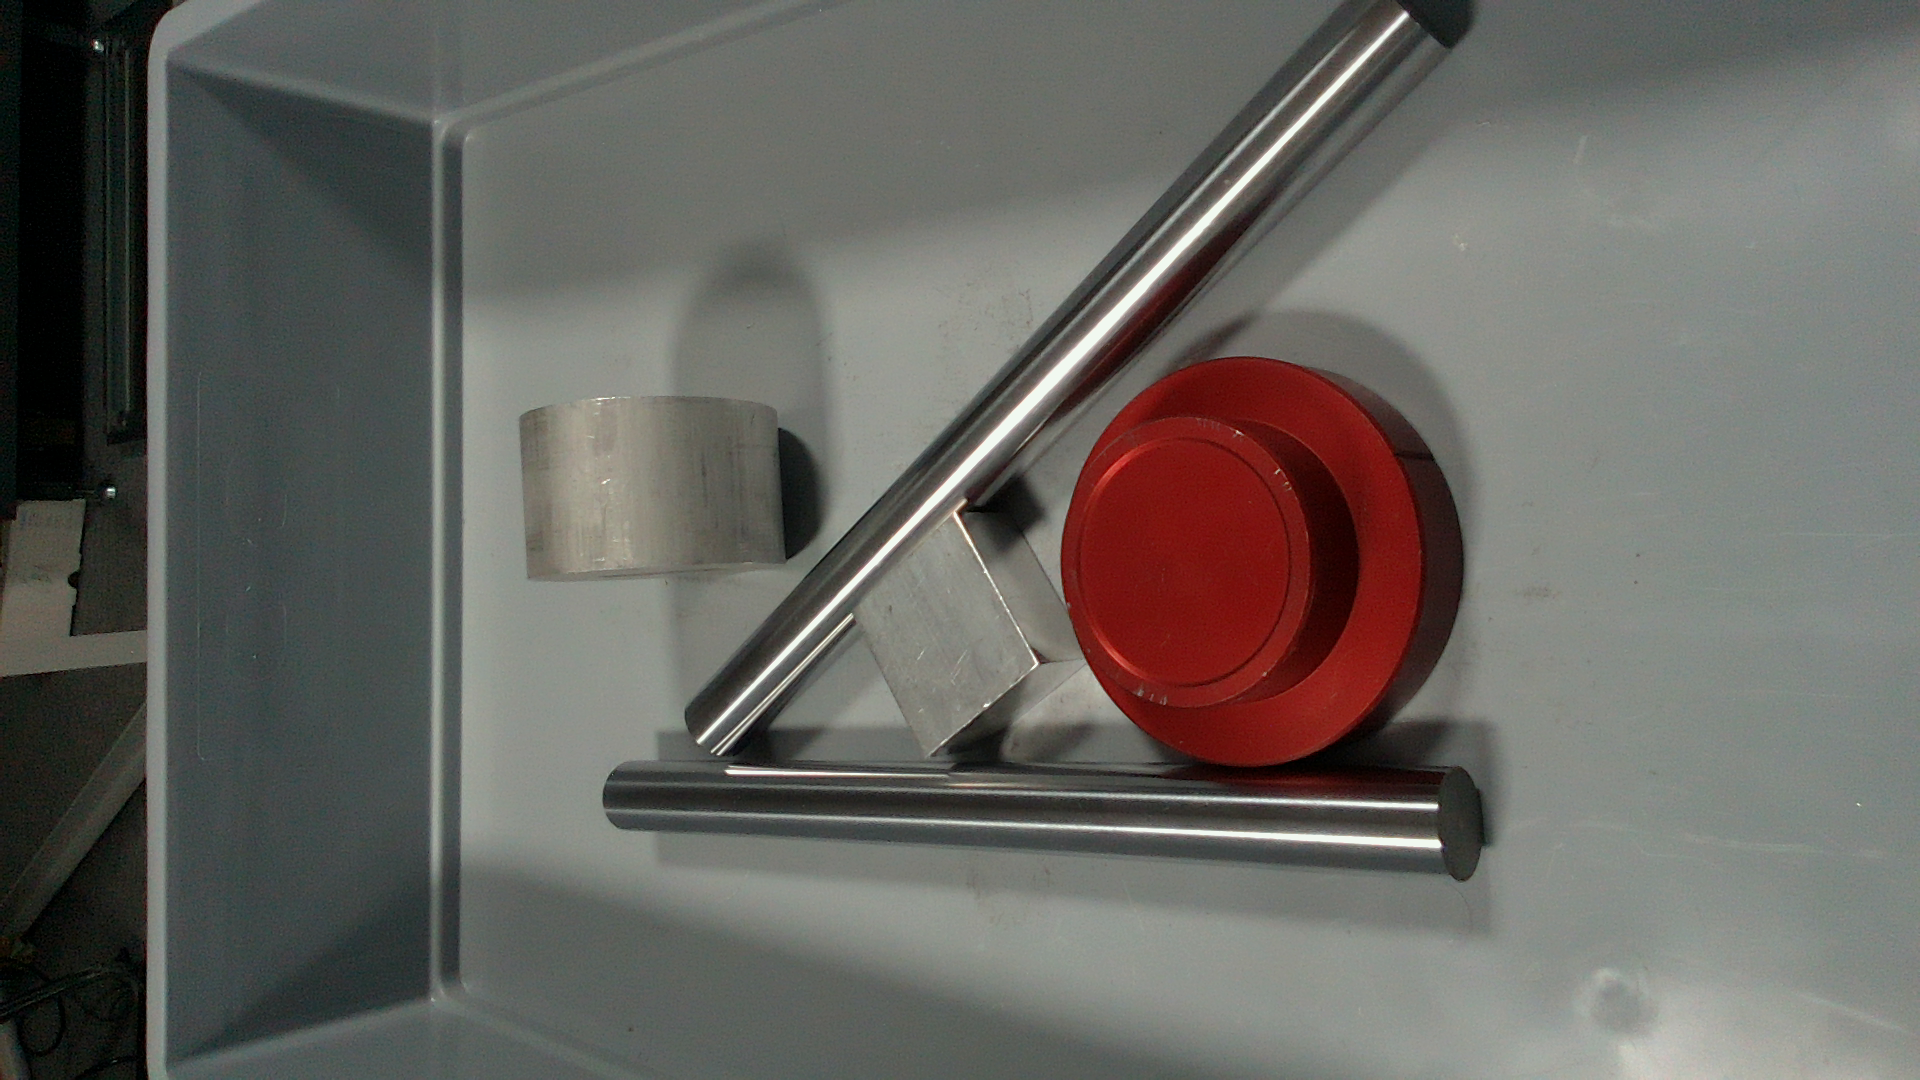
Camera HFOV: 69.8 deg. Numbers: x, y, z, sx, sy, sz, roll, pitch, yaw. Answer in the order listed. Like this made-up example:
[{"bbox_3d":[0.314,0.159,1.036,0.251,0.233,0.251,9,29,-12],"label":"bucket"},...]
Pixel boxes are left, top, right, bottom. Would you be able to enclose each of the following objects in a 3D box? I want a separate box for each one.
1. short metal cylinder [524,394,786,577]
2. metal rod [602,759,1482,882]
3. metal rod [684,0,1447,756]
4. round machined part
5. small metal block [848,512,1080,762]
[{"bbox_3d":[-0.097,-0.015,0.440,0.080,0.080,0.050,-7,86,40],"label":"short metal cylinder"},{"bbox_3d":[-0.004,0.077,0.397,0.299,0.025,0.025,-7,85,40],"label":"metal rod"},{"bbox_3d":[0.009,-0.029,0.385,0.299,0.025,0.025,-45,63,31],"label":"metal rod"},{"bbox_3d":[0.062,0.005,0.328,0.098,0.042,0.098,0,90,40],"label":"round machined part"},{"bbox_3d":[0.002,0.027,0.391,0.050,0.025,0.050,-43,64,32],"label":"small metal block"}]
